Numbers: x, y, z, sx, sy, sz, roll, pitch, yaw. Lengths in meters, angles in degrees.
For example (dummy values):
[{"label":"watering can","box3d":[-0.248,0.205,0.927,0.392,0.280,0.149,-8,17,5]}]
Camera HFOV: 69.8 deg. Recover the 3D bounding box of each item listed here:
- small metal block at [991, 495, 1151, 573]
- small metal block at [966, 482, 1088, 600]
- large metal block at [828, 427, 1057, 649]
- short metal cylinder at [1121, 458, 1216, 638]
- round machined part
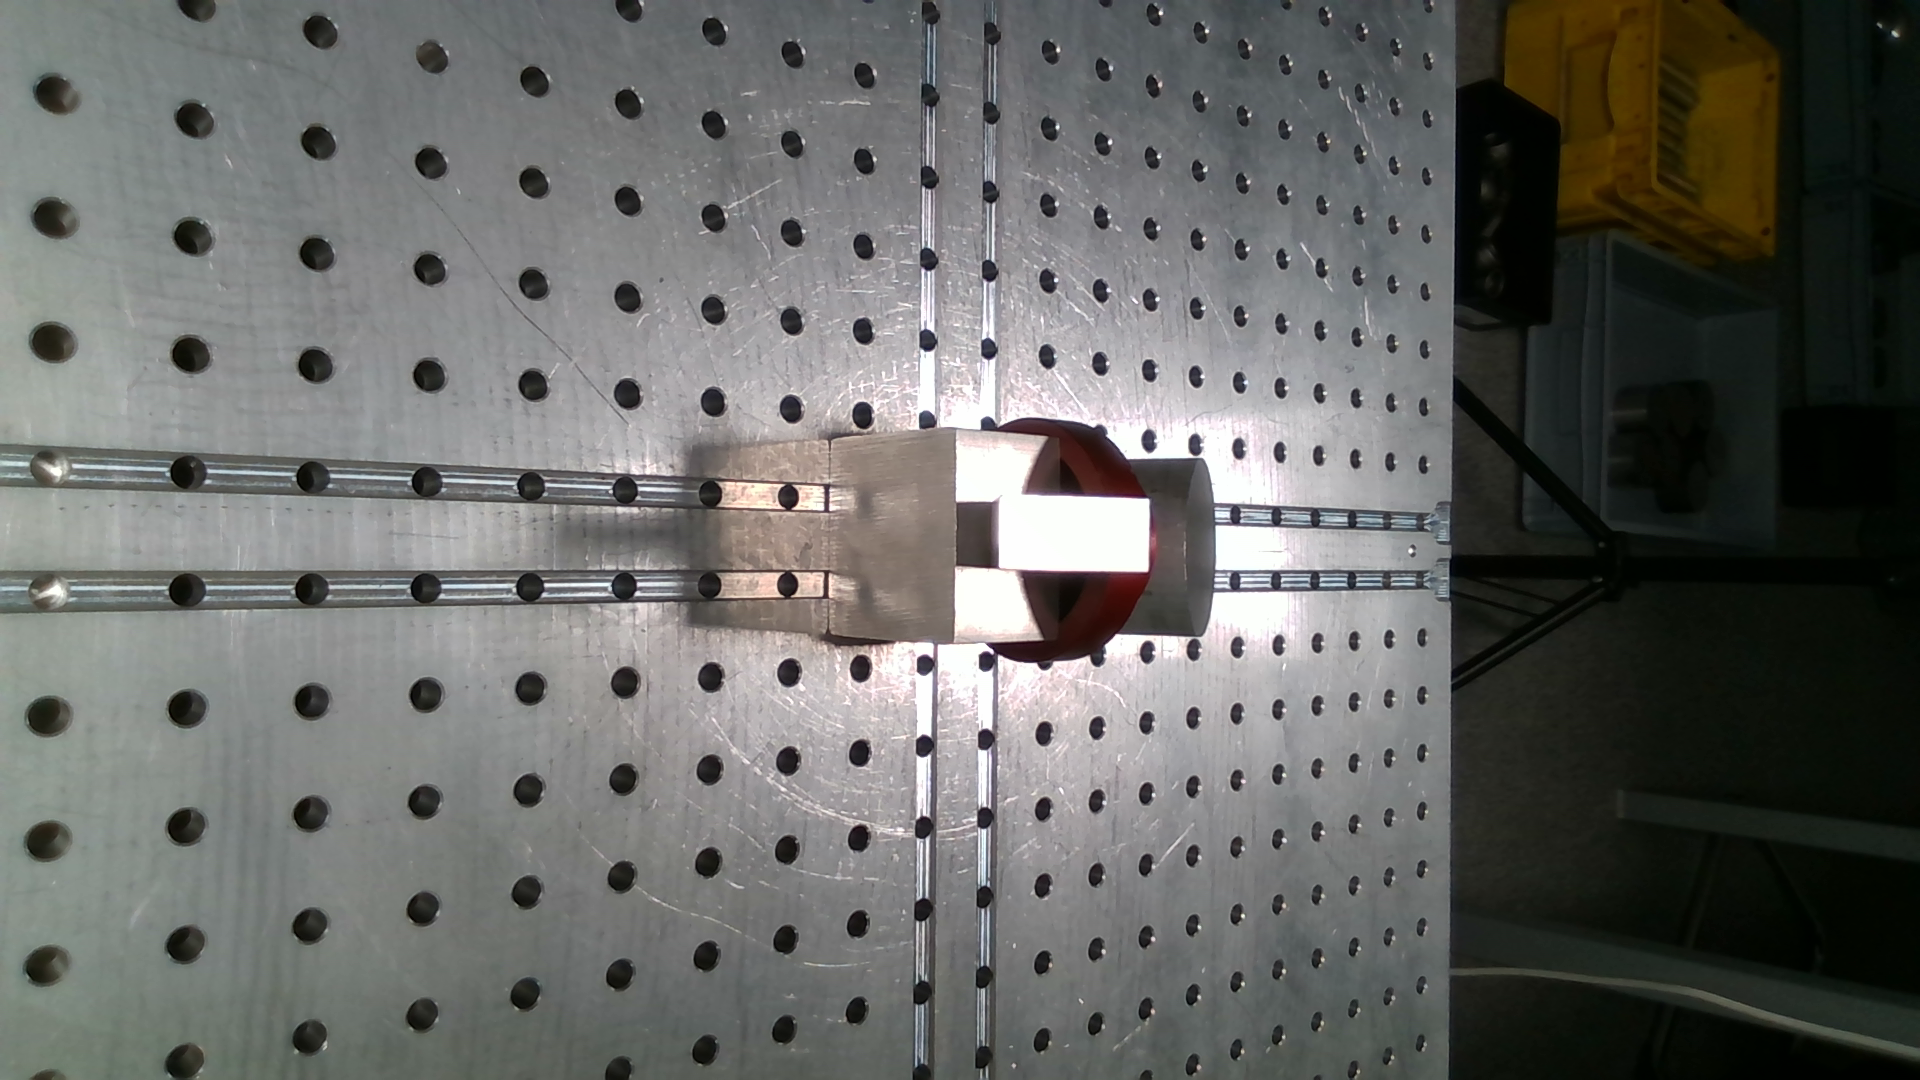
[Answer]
[{"label":"small metal block","box3d":[0.037,-0.002,0.483,0.050,0.050,0.025,1,90,-2]},{"label":"small metal block","box3d":[0.030,0.001,0.610,0.050,0.025,0.050,1,89,-40]},{"label":"large metal block","box3d":[-0.008,0.000,0.542,0.050,0.080,0.080,1,89,-40]},{"label":"short metal cylinder","box3d":[0.084,0.003,0.619,0.080,0.050,0.080,1,89,-70]},{"label":"round machined part","box3d":[0.041,0.001,0.559,0.042,0.098,0.098,1,89,-40]}]
